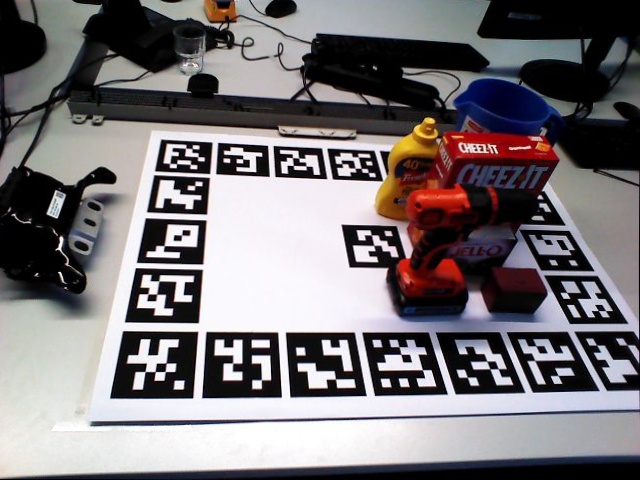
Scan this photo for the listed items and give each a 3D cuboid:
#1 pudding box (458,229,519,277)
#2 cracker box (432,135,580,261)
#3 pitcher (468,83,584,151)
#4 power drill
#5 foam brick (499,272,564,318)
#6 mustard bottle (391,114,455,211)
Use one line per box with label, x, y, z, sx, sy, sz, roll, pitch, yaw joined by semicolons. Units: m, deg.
pudding box;0.268;0.015;0.819;0.114;0.090;0.038;1;45;-4
cracker box;0.279;-0.057;0.815;0.164;0.214;0.071;-1;45;-7
pitcher;0.320;-0.132;0.886;0.189;0.244;0.132;5;46;-1
power drill;0.218;0.010;0.720;0.184;0.188;0.057;2;43;-8
foam brick;0.325;0.086;0.806;0.078;0.051;0.052;4;48;-5
mustard bottle;0.187;-0.129;0.878;0.096;0.192;0.058;12;47;2
